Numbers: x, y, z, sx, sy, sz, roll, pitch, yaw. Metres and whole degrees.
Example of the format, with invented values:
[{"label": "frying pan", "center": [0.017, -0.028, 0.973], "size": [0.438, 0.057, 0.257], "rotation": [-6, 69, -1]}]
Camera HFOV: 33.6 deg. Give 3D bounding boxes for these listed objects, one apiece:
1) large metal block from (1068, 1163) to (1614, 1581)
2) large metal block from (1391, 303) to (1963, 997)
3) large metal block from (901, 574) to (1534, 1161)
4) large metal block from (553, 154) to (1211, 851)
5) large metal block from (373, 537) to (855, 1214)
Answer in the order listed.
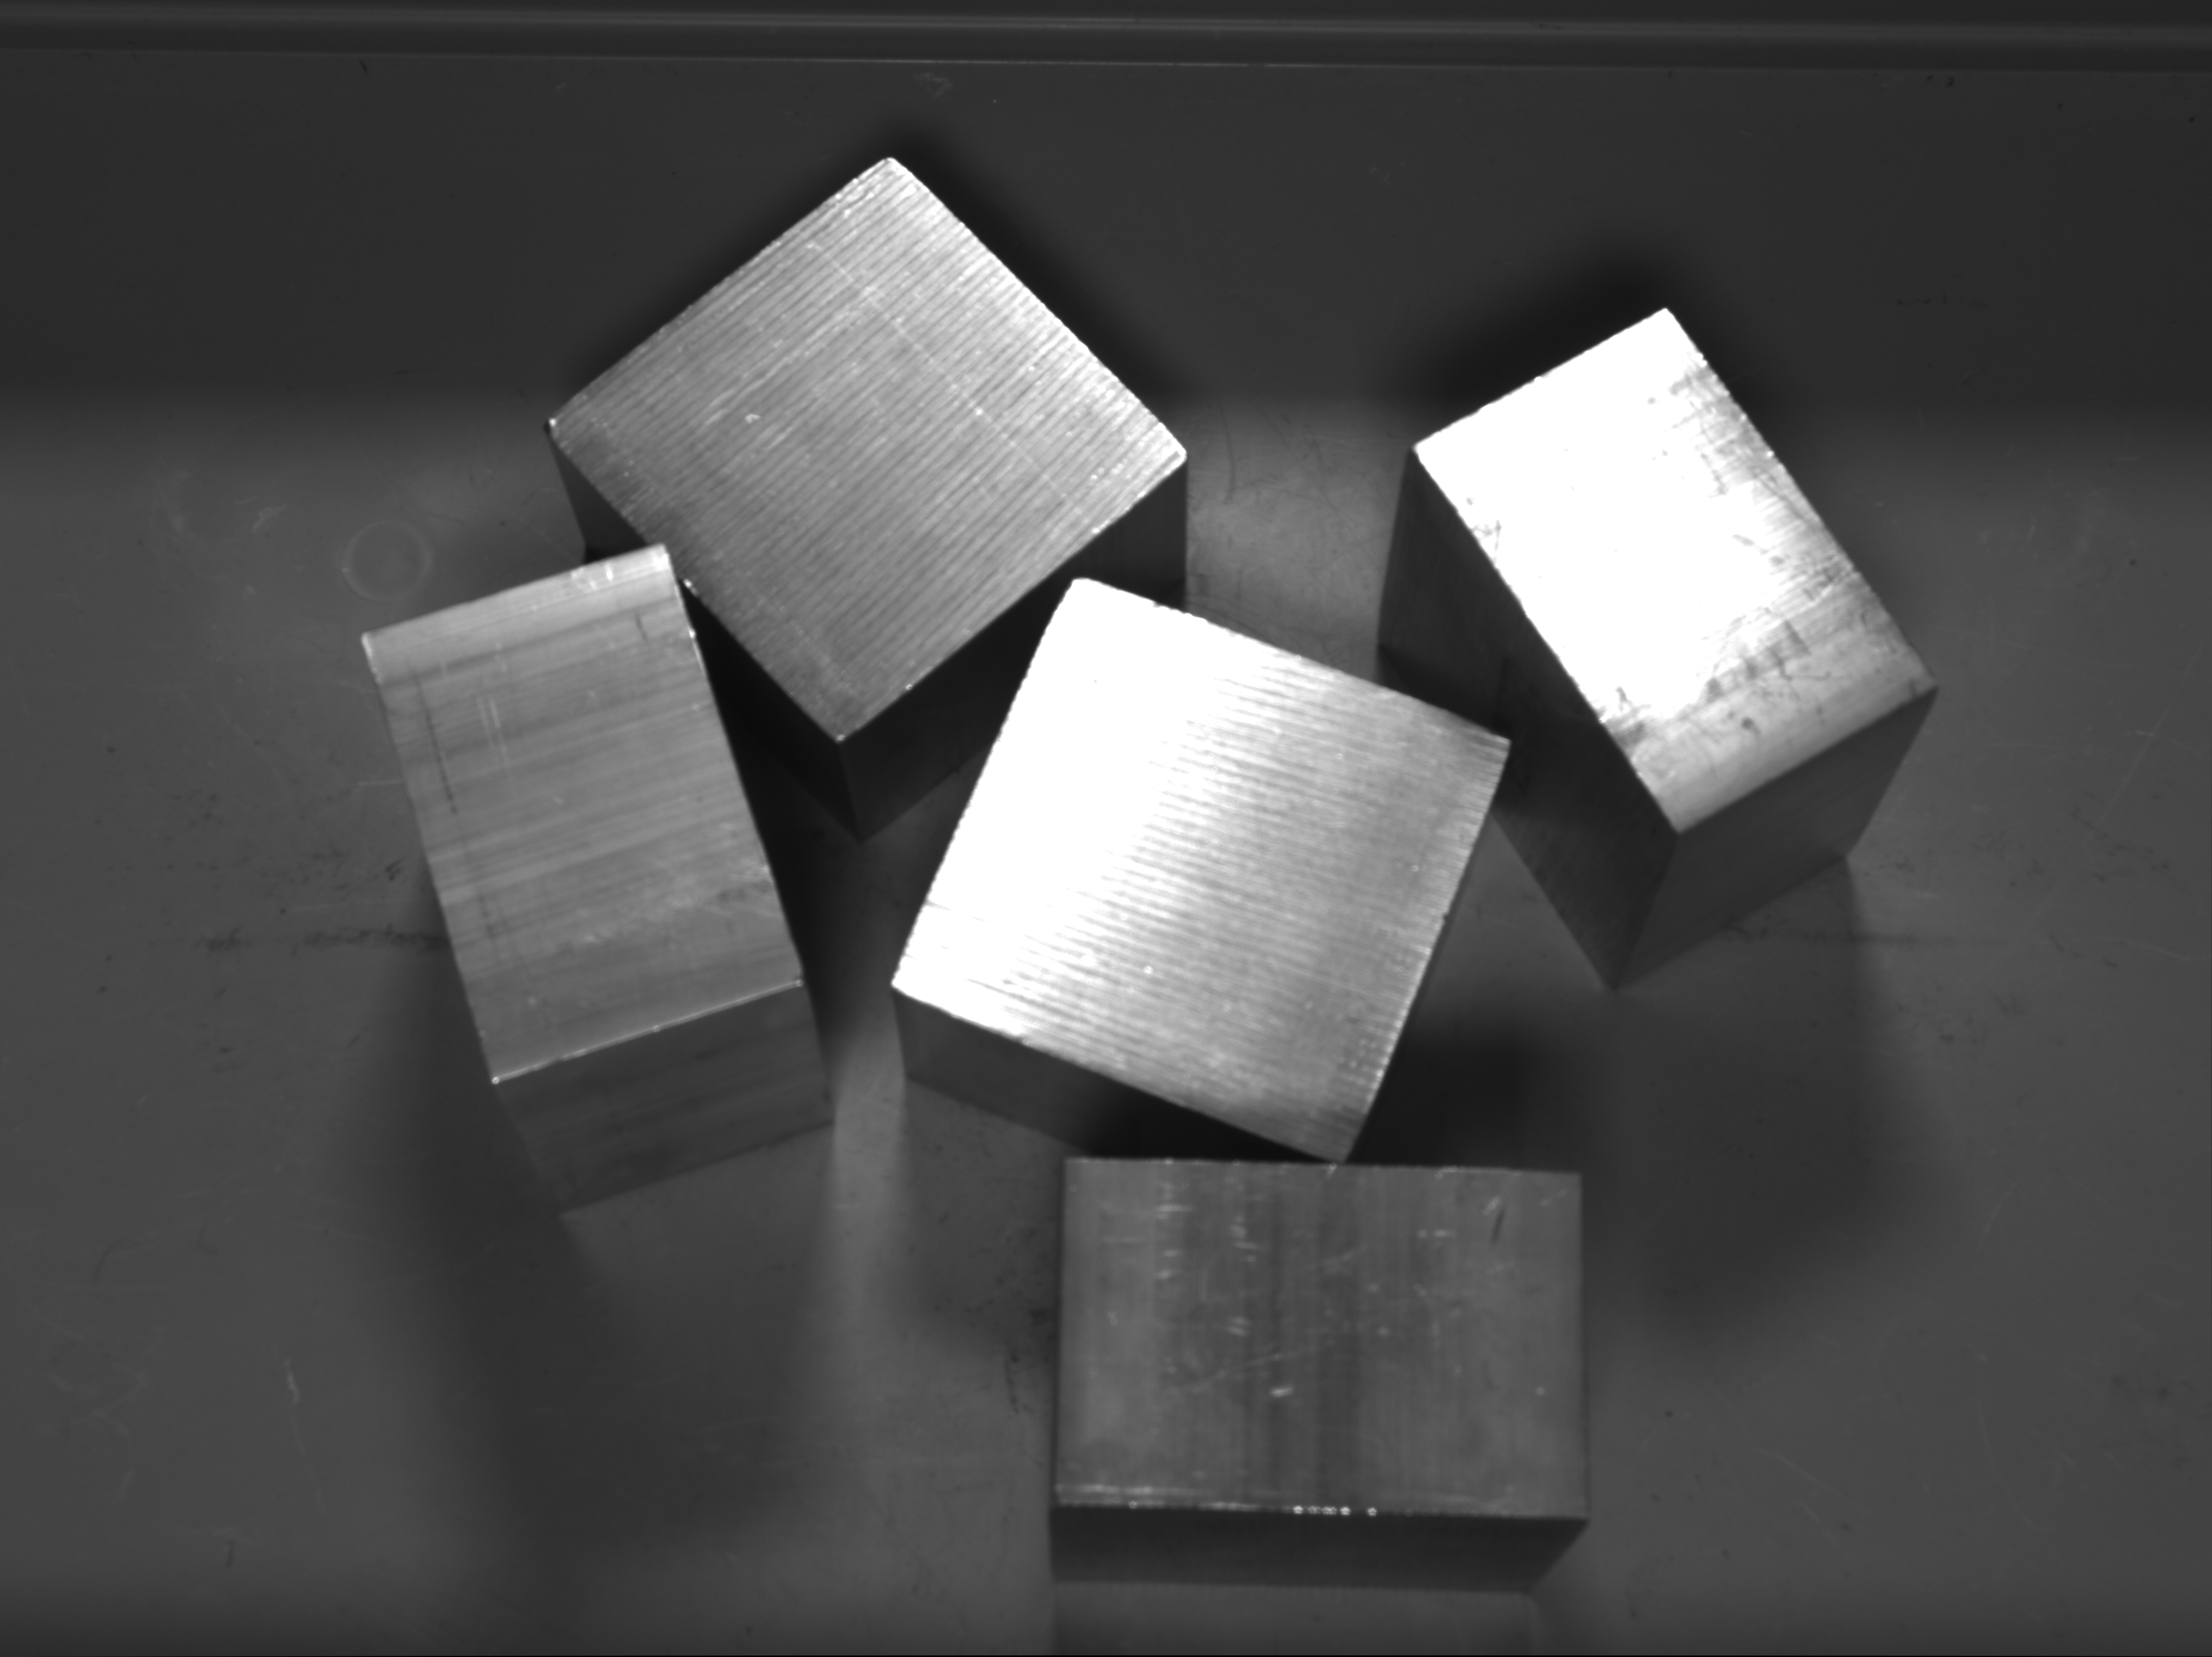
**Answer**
[{"label": "large metal block", "center": [0.035, 0.088, 0.583], "size": [0.080, 0.080, 0.050], "rotation": [1, 70, 0]}, {"label": "large metal block", "center": [0.094, -0.028, 0.625], "size": [0.050, 0.080, 0.080], "rotation": [-29, 72, -10]}, {"label": "large metal block", "center": [0.019, 0.015, 0.625], "size": [0.080, 0.050, 0.080], "rotation": [21, 71, 8]}, {"label": "large metal block", "center": [-0.038, -0.058, 0.651], "size": [0.080, 0.050, 0.080], "rotation": [-40, 75, -13]}, {"label": "large metal block", "center": [-0.080, 0.010, 0.611], "size": [0.050, 0.080, 0.080], "rotation": [-18, 71, -6]}]
